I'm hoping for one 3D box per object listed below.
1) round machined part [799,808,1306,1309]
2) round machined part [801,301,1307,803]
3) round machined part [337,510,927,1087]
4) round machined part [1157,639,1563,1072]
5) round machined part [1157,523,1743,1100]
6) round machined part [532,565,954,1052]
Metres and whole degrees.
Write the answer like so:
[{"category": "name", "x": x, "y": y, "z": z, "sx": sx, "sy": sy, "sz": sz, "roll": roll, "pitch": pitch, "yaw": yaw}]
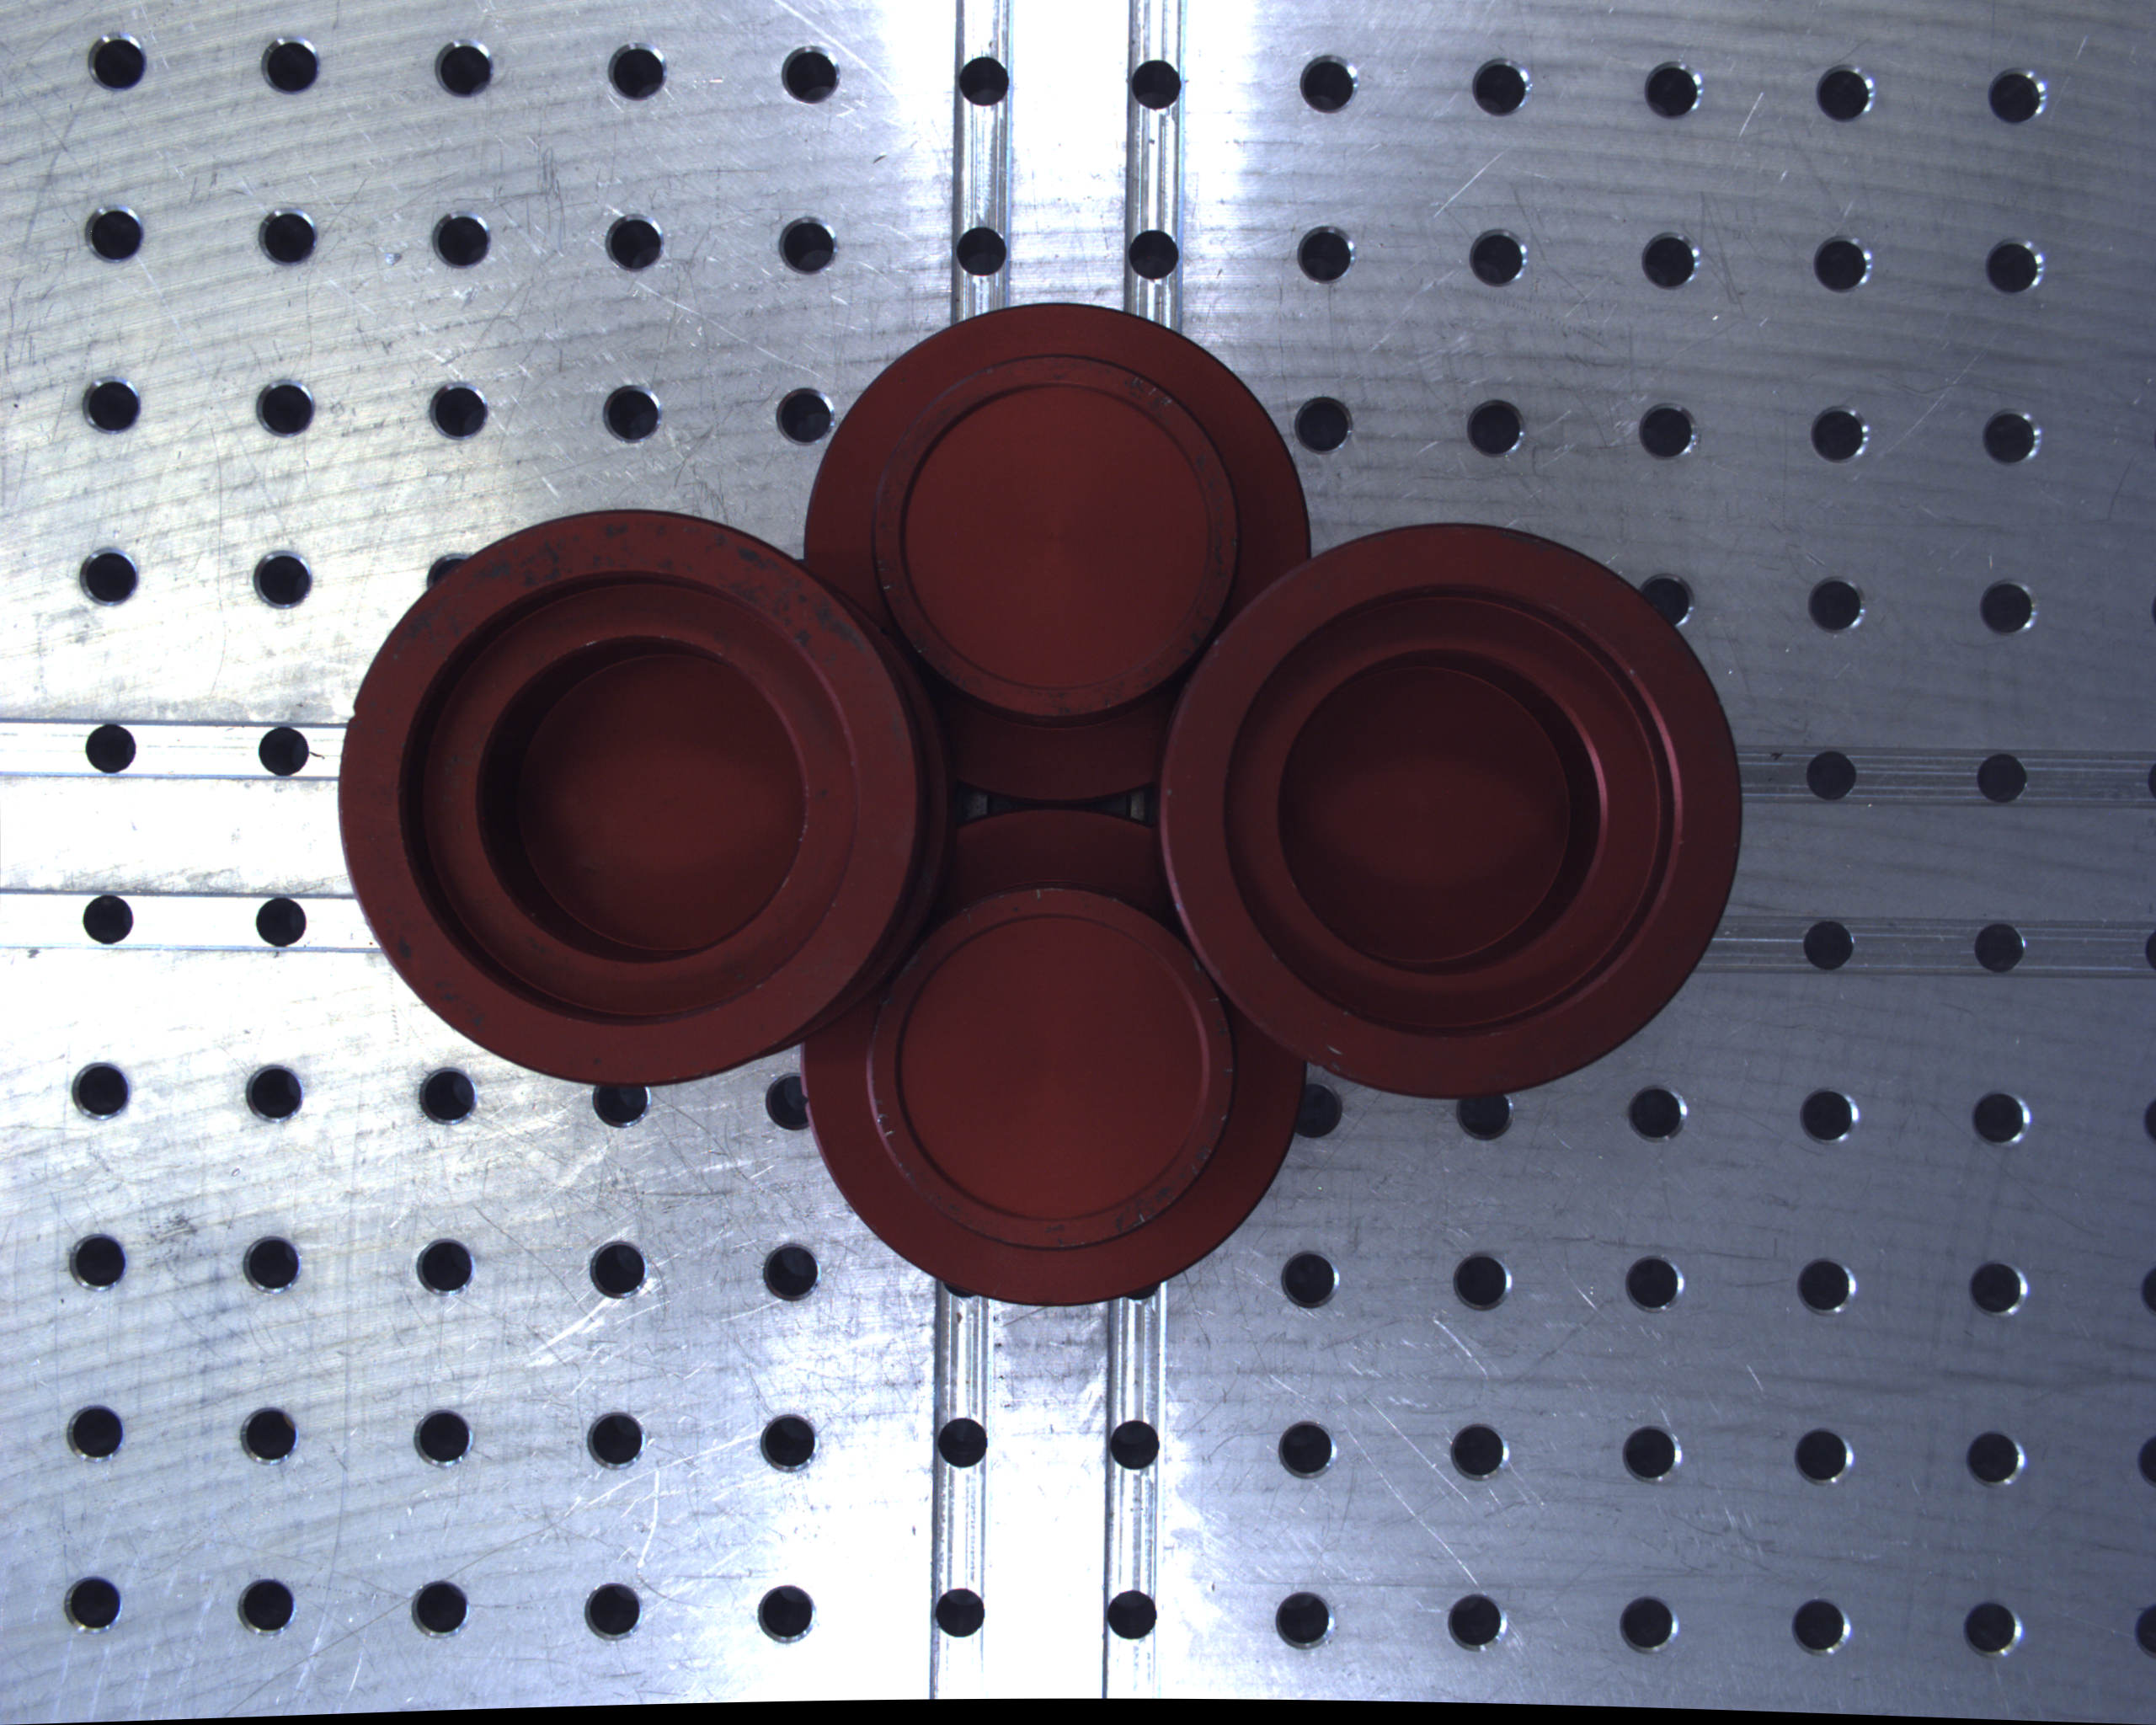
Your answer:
[{"category": "round machined part", "x": -0.005, "y": 0.038, "z": 0.404, "sx": 0.099, "sy": 0.042, "sz": 0.097, "roll": 0, "pitch": 90, "yaw": 0}, {"category": "round machined part", "x": -0.005, "y": -0.060, "z": 0.404, "sx": 0.099, "sy": 0.042, "sz": 0.097, "roll": 0, "pitch": 90, "yaw": 0}, {"category": "round machined part", "x": -0.075, "y": -0.011, "z": 0.372, "sx": 0.099, "sy": 0.042, "sz": 0.097, "roll": 0, "pitch": 90, "yaw": 0}, {"category": "round machined part", "x": 0.063, "y": -0.010, "z": 0.405, "sx": 0.099, "sy": 0.042, "sz": 0.097, "roll": 0, "pitch": 90, "yaw": 0}, {"category": "round machined part", "x": 0.063, "y": -0.009, "z": 0.373, "sx": 0.099, "sy": 0.042, "sz": 0.097, "roll": 0, "pitch": 90, "yaw": 0}, {"category": "round machined part", "x": -0.073, "y": -0.011, "z": 0.404, "sx": 0.099, "sy": 0.042, "sz": 0.097, "roll": 0, "pitch": 90, "yaw": 0}]
